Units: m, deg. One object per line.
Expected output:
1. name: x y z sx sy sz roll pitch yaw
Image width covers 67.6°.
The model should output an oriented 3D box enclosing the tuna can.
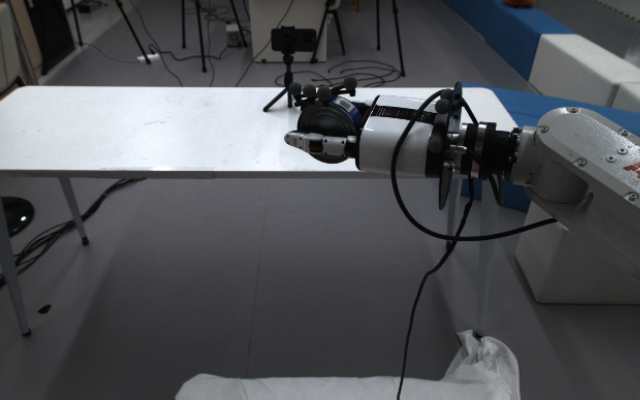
1. tuna can: 0.016 -0.095 0.643 0.085 0.085 0.034 17 36 20
